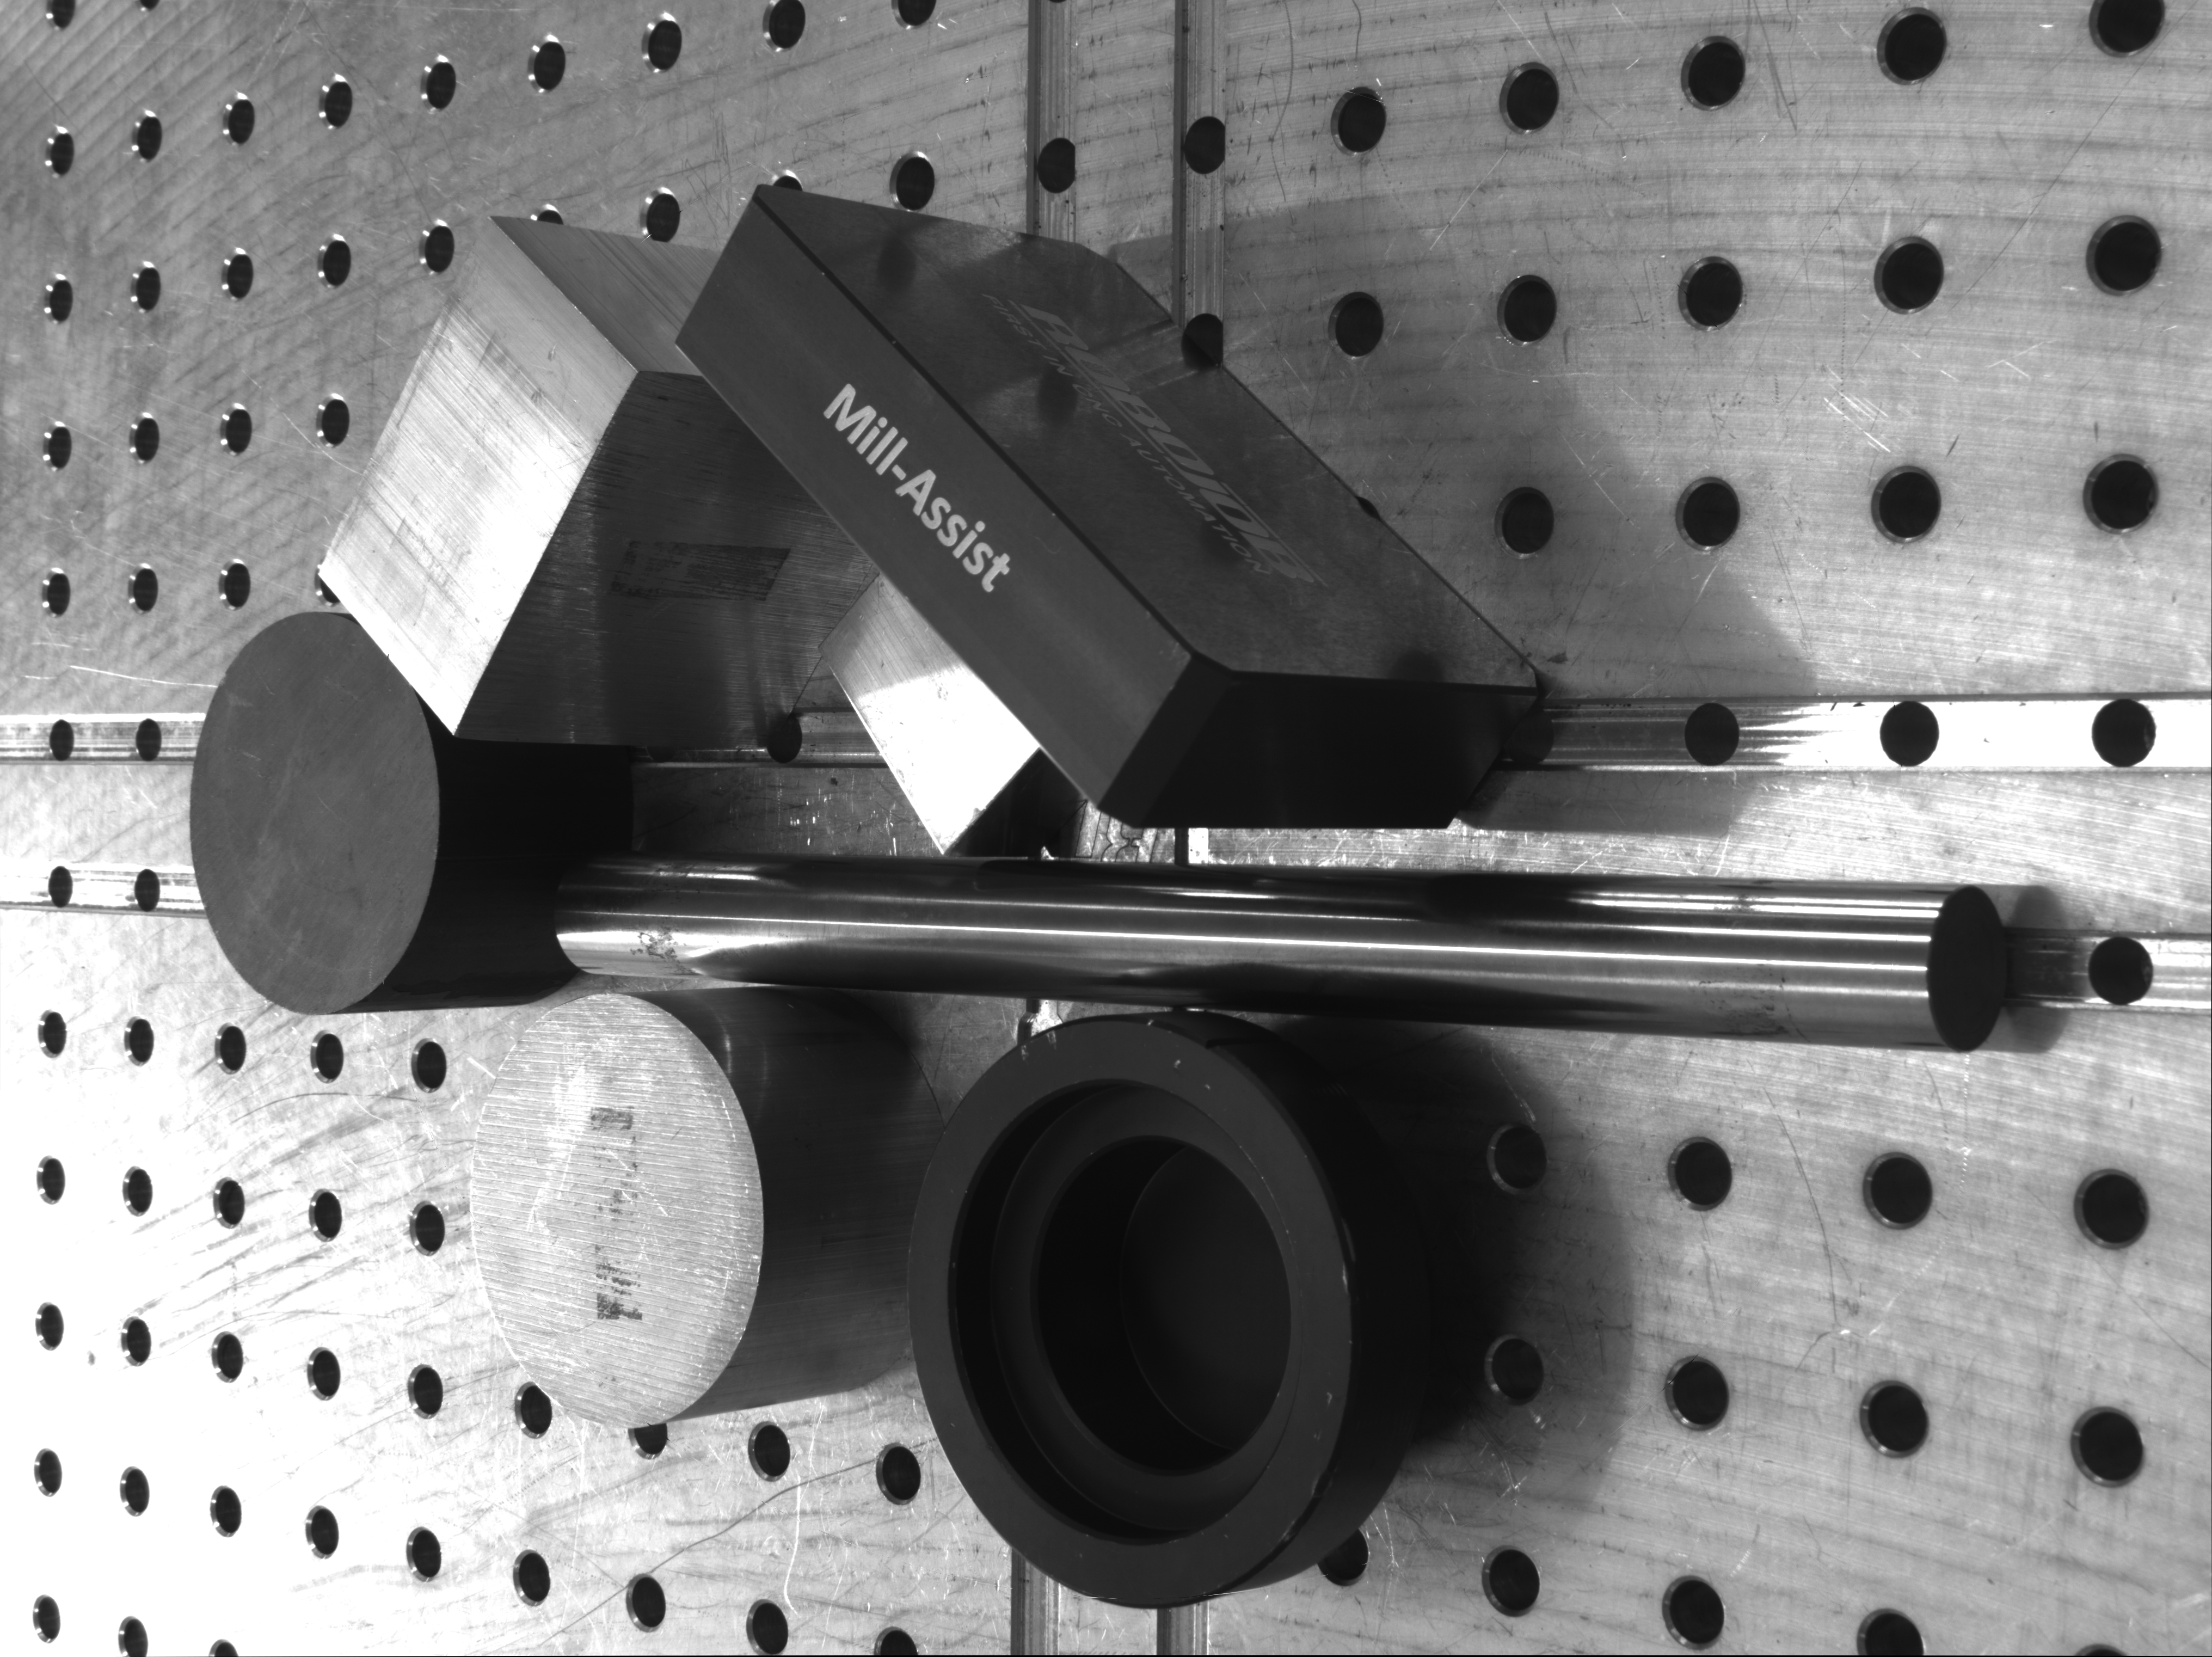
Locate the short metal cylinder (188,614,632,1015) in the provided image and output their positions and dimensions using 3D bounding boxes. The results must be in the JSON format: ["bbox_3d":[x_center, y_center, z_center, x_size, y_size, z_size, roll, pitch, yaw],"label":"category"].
[{"bbox_3d":[-0.143,-0.003,0.752,0.080,0.050,0.080,0,90,40],"label":"short metal cylinder"}]

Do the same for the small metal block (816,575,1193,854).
[{"bbox_3d":[-0.019,-0.031,0.664,0.050,0.025,0.050,-47,62,30],"label":"small metal block"}]

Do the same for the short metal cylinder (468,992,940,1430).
[{"bbox_3d":[-0.075,0.071,0.694,0.080,0.050,0.080,0,90,40],"label":"short metal cylinder"}]

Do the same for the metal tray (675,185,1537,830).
[{"bbox_3d":[0.000,-0.052,0.605,0.130,0.090,0.030,48,119,30],"label":"metal tray"}]

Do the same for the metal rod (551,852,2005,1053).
[{"bbox_3d":[0.013,0.019,0.637,0.299,0.025,0.025,1,90,40],"label":"metal rod"}]

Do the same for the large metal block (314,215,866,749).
[{"bbox_3d":[-0.088,-0.062,0.687,0.050,0.080,0.080,46,117,30],"label":"large metal block"}]

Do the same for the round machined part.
[{"bbox_3d":[0.016,0.080,0.624,0.098,0.042,0.098,0,90,40],"label":"round machined part"}]
